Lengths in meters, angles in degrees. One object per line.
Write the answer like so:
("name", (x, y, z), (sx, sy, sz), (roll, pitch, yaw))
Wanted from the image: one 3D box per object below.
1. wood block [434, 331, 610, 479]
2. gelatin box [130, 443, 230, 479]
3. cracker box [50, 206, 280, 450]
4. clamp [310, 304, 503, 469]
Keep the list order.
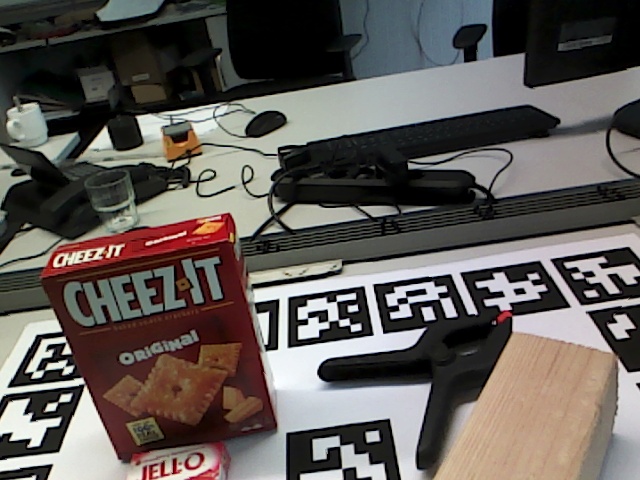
("wood block", (0.161, 0.176, 0.489), (0.090, 0.090, 0.205), (8, 33, 32))
("gelatin box", (-0.127, 0.226, 0.551), (0.089, 0.030, 0.073), (-10, 33, 0))
("cracker box", (-0.135, 0.089, 0.586), (0.164, 0.213, 0.072), (-10, 30, -3))
("clamp", (0.115, 0.124, 0.630), (0.202, 0.036, 0.166), (-27, 36, -25))
